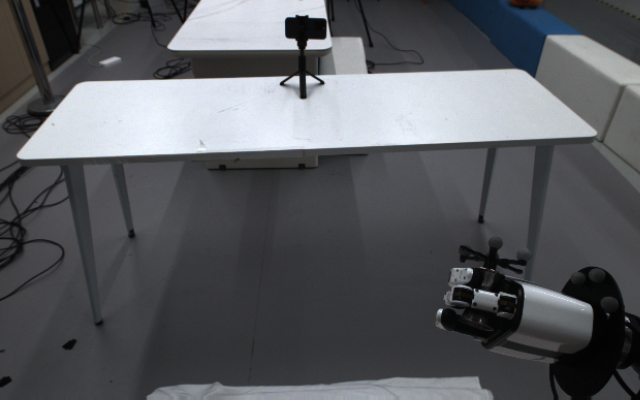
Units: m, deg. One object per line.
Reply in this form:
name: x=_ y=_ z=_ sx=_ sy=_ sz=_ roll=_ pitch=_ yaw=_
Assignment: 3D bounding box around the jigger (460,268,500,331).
jigger: x=0.202 y=0.119 z=0.597 sx=0.043 sy=0.043 sz=0.071 roll=15 pitch=70 yaw=18
